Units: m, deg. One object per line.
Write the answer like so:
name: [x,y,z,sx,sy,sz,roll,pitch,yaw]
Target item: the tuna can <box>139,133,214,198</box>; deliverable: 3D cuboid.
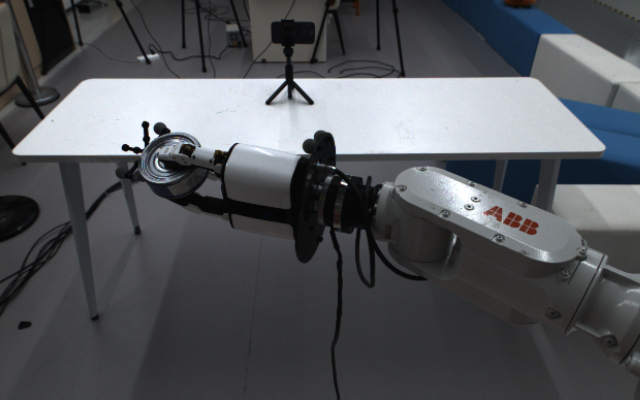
tuna can: [-0.189,-0.047,0.631,0.085,0.034,0.085,-4,59,6]
